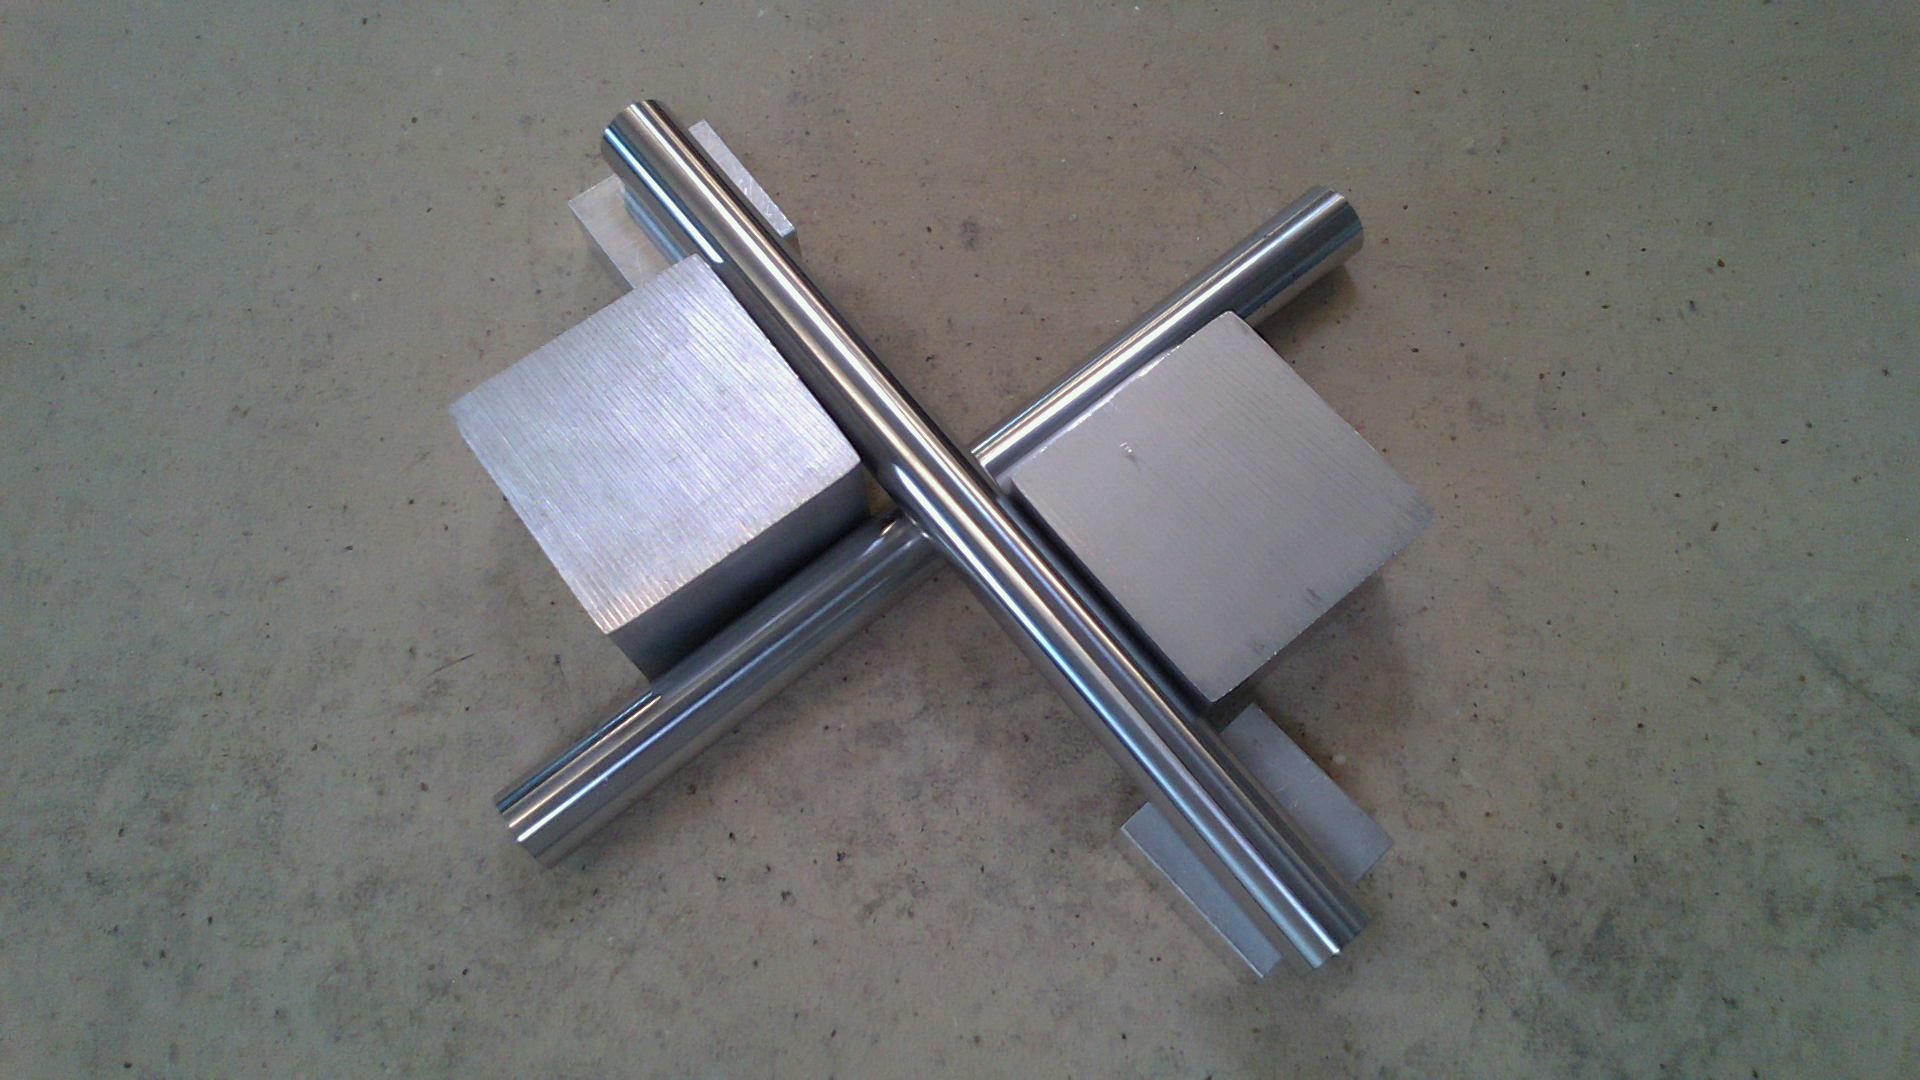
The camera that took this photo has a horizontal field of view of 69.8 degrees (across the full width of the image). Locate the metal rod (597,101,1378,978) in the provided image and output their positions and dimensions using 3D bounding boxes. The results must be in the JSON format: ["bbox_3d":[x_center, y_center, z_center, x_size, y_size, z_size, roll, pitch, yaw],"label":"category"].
[{"bbox_3d":[-0.003,-0.012,0.372,0.025,0.025,0.300,-37,74,-12],"label":"metal rod"}]

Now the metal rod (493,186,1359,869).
[{"bbox_3d":[0.000,-0.011,0.400,0.300,0.025,0.025,-37,74,-13],"label":"metal rod"}]

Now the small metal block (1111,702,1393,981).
[{"bbox_3d":[0.076,0.081,0.366,0.050,0.025,0.050,-41,75,-14],"label":"small metal block"}]

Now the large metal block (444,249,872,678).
[{"bbox_3d":[-0.081,-0.020,0.386,0.080,0.050,0.080,-35,74,-12],"label":"large metal block"}]

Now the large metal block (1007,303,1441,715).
[{"bbox_3d":[0.069,-0.004,0.383,0.080,0.050,0.080,-37,74,-13],"label":"large metal block"}]

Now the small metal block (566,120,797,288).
[{"bbox_3d":[-0.085,-0.094,0.430,0.050,0.025,0.050,-36,74,-12],"label":"small metal block"}]
